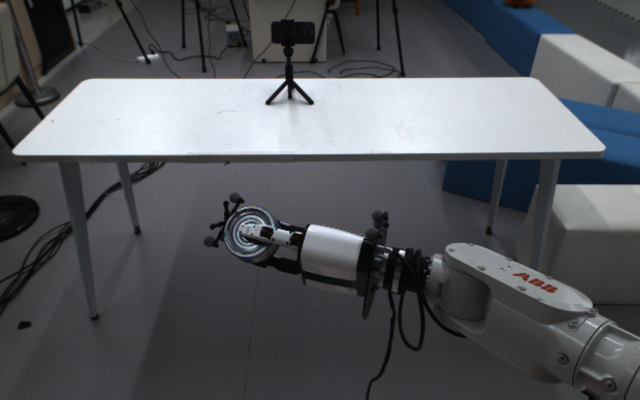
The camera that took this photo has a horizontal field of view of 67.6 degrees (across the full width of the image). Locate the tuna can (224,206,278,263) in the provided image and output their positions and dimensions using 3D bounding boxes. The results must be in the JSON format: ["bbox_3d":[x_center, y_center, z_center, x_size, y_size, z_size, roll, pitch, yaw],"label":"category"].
[{"bbox_3d":[-0.103,0.052,0.750,0.085,0.034,0.085,-3,70,9],"label":"tuna can"}]
